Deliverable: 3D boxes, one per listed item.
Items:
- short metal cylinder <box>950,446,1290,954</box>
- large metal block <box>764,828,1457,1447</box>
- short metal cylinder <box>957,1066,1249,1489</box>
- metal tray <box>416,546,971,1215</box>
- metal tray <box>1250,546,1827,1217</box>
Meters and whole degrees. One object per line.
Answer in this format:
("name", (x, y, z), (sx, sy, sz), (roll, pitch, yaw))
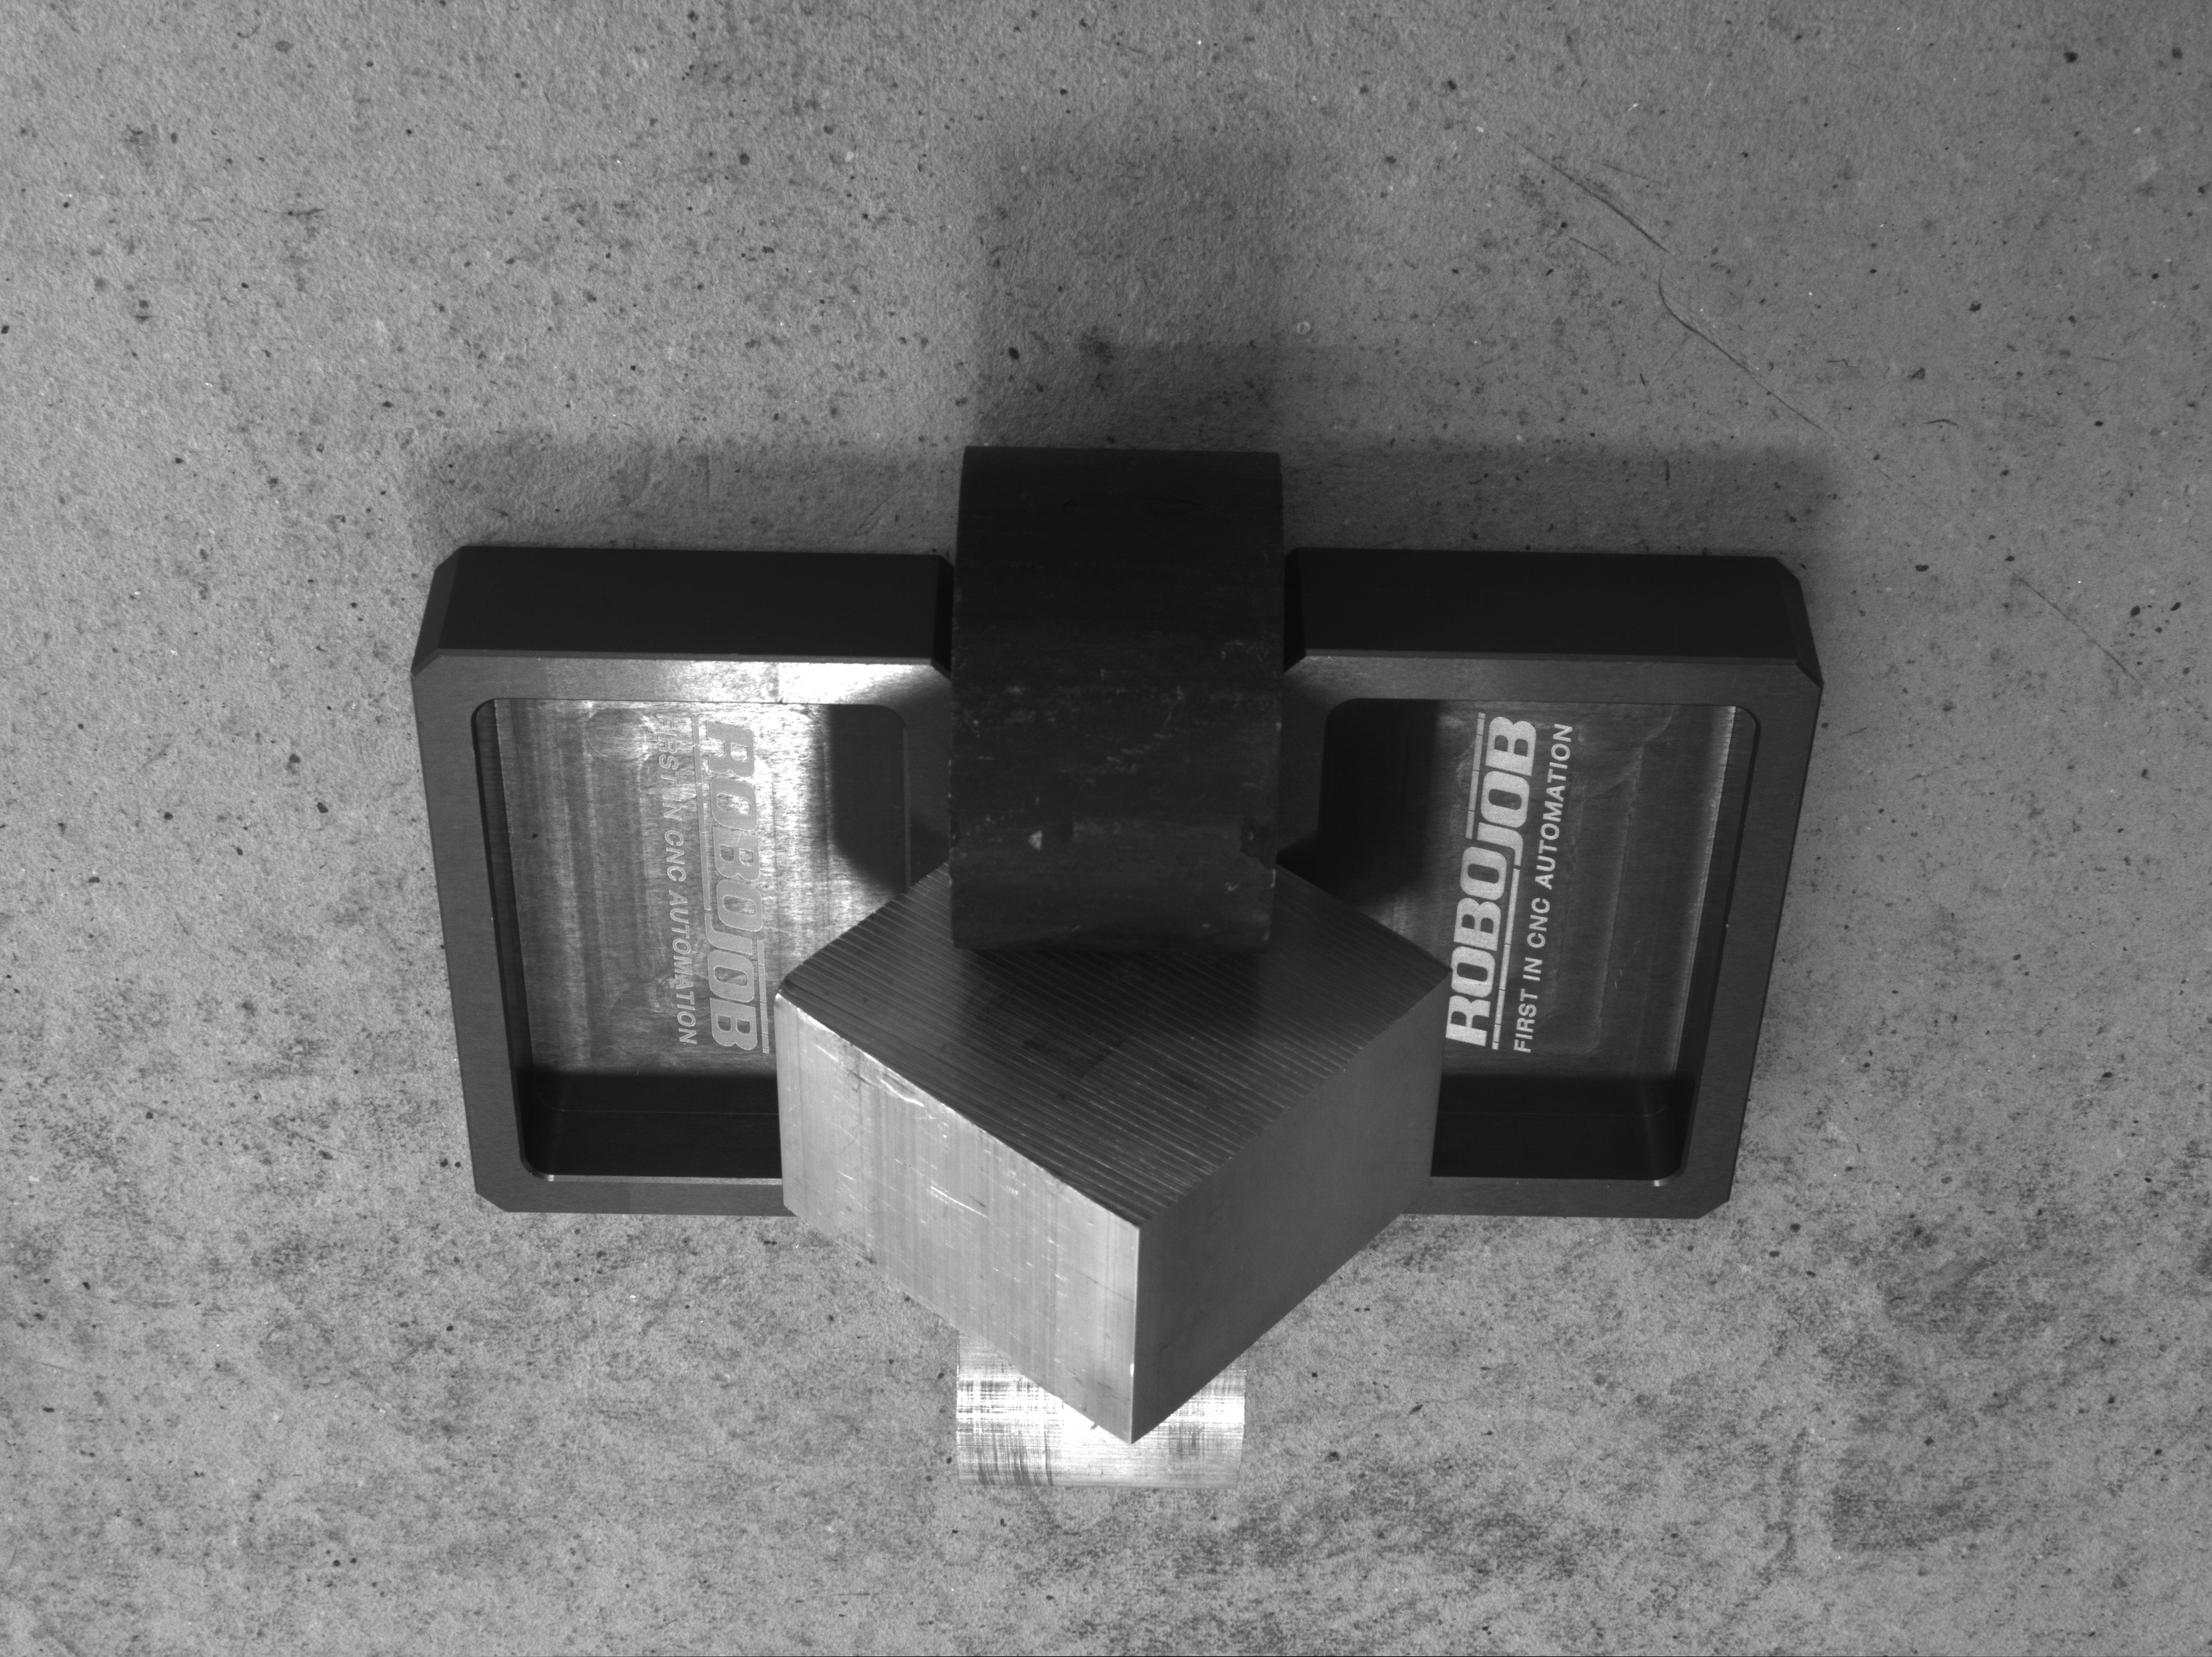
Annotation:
("short metal cylinder", (0.001, -0.020, 0.587), (0.050, 0.080, 0.080), (1, 130, -1))
("large metal block", (0.001, 0.043, 0.613), (0.080, 0.080, 0.050), (30, 138, 29))
("short metal cylinder", (-0.001, 0.080, 0.671), (0.050, 0.080, 0.080), (1, 130, -1))
("metal tray", (-0.068, 0.012, 0.647), (0.090, 0.030, 0.130), (1, 130, -1))
("metal tray", (0.071, 0.012, 0.648), (0.090, 0.030, 0.130), (1, 130, -1))
